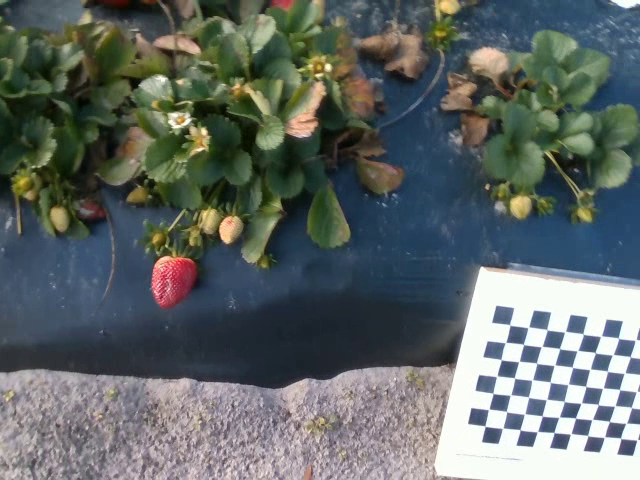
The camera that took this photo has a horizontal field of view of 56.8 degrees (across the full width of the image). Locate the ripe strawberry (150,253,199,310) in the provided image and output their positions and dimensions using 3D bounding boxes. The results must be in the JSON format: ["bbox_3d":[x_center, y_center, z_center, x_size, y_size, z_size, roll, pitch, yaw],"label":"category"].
[{"bbox_3d":[-0.175,0.052,0.705,0.052,0.068,0.045,4,-29,-7],"label":"ripe strawberry"}]
